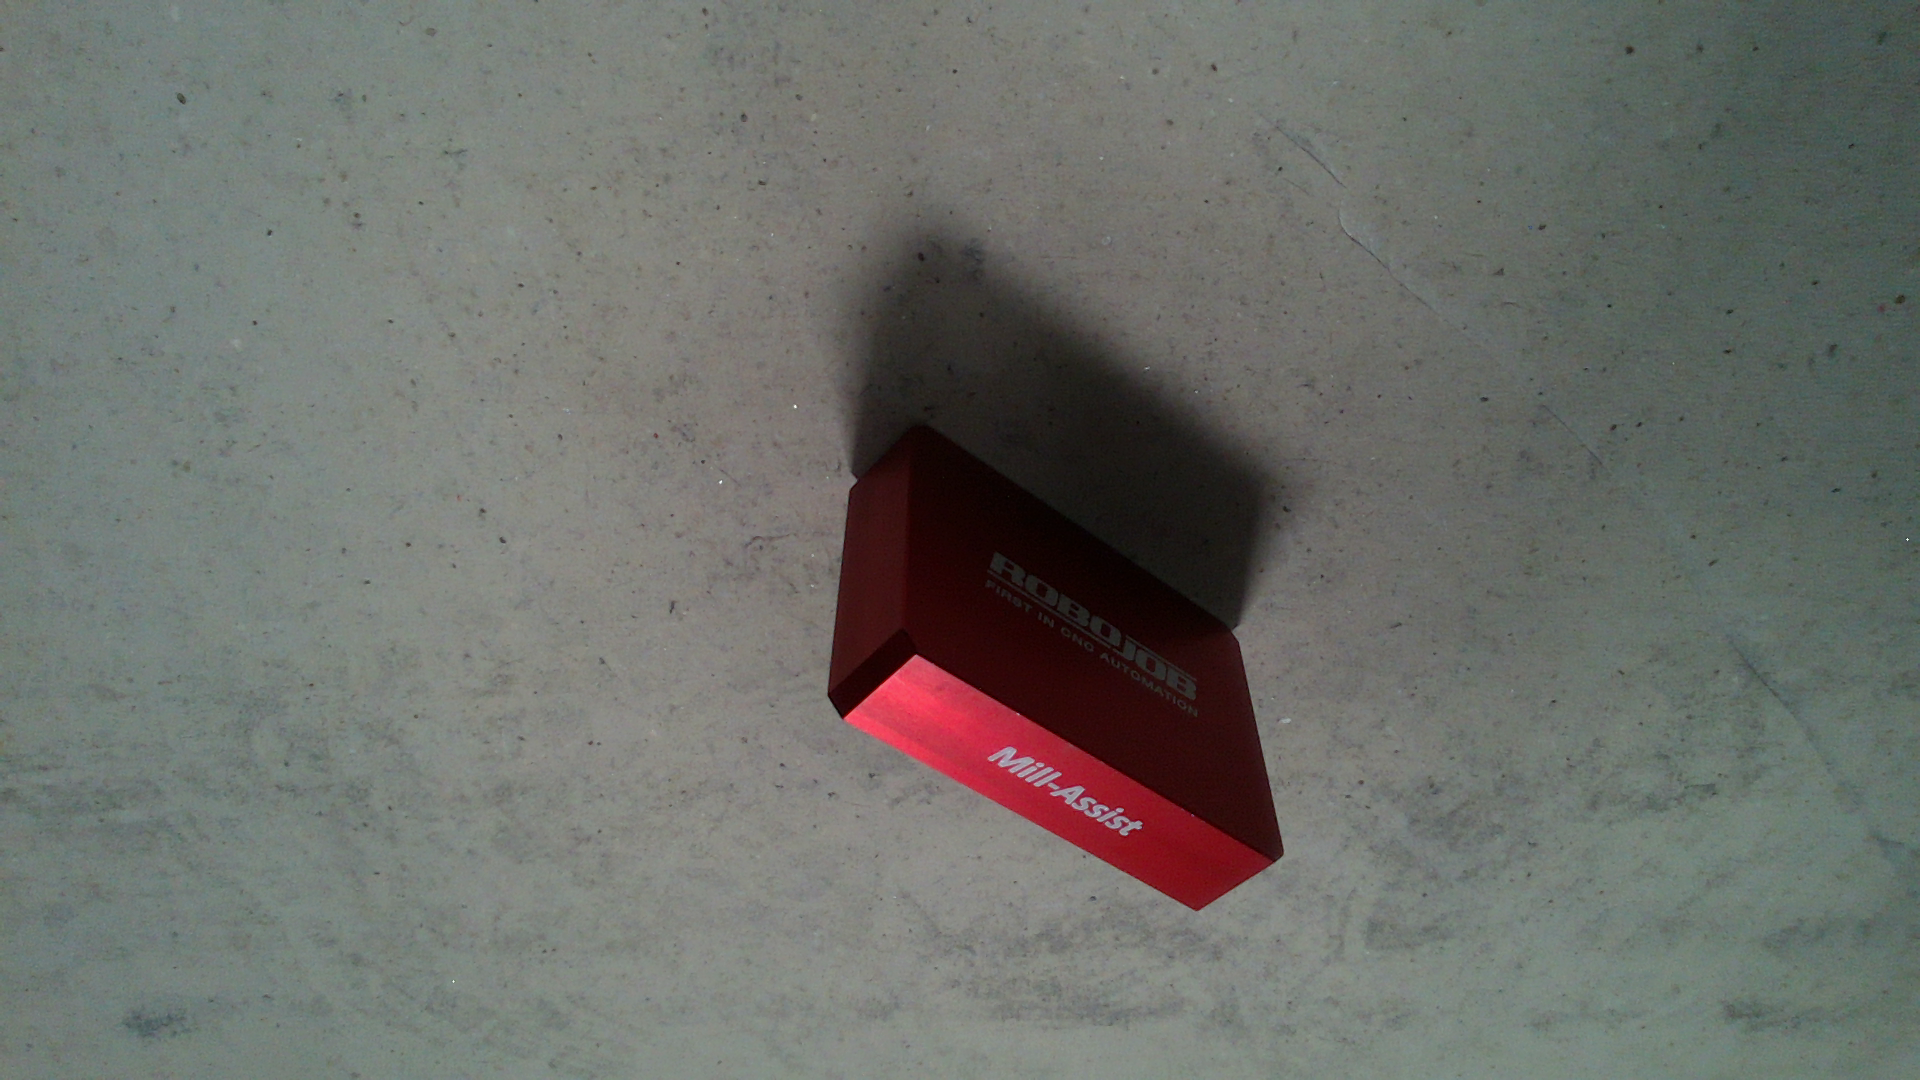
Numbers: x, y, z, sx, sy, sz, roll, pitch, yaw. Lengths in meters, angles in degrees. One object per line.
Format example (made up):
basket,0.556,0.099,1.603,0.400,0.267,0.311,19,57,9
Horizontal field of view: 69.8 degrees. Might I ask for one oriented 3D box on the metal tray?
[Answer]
metal tray,0.028,0.035,0.377,0.130,0.090,0.030,32,123,-24
